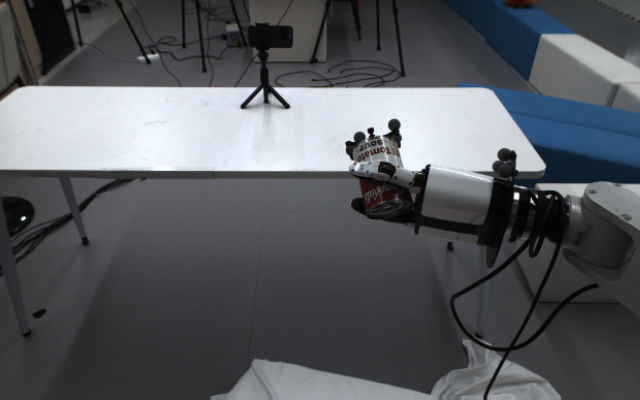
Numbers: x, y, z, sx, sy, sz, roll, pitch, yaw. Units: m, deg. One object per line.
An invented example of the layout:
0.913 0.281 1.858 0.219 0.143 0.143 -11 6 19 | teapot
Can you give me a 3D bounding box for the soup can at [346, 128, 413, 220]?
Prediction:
0.089 -0.031 0.686 0.067 0.067 0.101 -6 68 -12 | soup can
